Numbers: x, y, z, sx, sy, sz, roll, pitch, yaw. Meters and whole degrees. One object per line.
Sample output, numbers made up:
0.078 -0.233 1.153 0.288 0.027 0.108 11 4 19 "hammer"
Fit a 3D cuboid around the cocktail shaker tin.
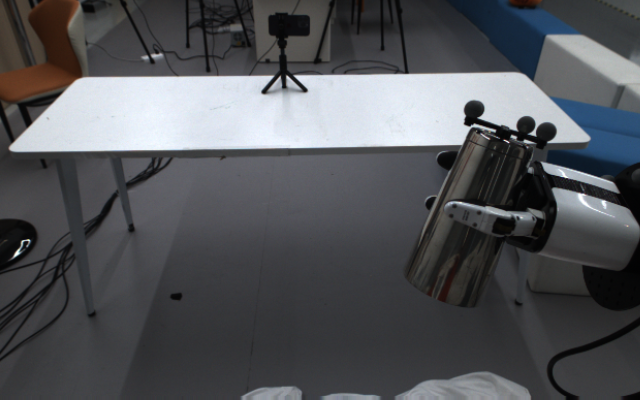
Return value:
0.160 0.015 0.511 0.093 0.170 0.093 15 17 -5 "cocktail shaker tin"
